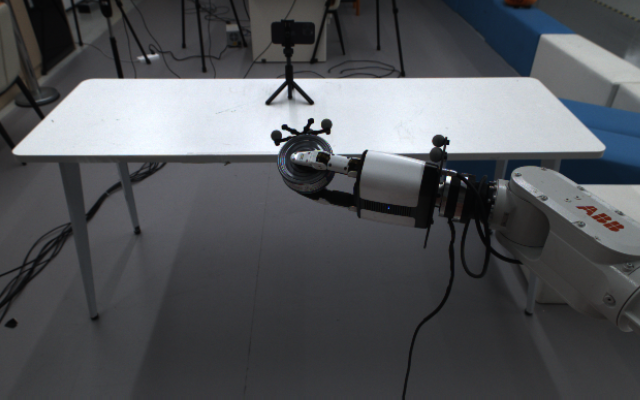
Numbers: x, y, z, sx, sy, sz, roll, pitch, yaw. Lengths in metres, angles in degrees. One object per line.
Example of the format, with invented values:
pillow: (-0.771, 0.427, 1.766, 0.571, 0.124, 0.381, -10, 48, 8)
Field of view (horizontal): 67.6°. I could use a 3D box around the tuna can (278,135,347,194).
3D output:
tuna can: (-0.017, -0.050, 0.720, 0.085, 0.034, 0.085, -4, 68, 9)
